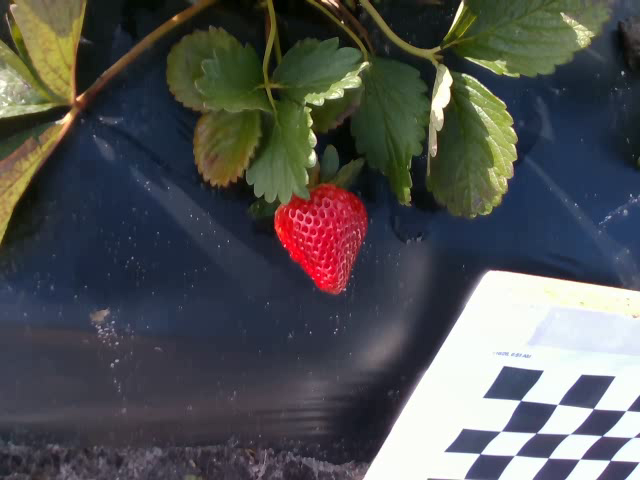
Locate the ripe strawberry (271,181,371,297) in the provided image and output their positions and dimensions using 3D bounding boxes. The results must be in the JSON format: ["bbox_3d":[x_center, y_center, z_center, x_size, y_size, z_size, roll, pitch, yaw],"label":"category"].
[{"bbox_3d":[0.003,0.002,0.221,0.041,0.047,0.041,-9,-17,7],"label":"ripe strawberry"}]
